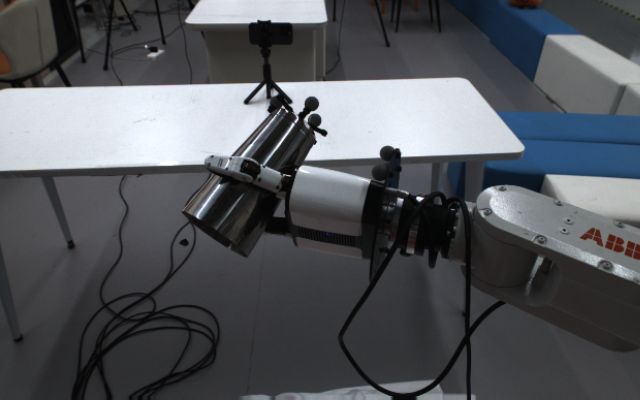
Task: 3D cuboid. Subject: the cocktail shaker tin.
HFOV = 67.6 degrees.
[{"bbox_3d":[-0.077,-0.030,0.587,0.093,0.093,0.170,24,69,28],"label":"cocktail shaker tin"}]
